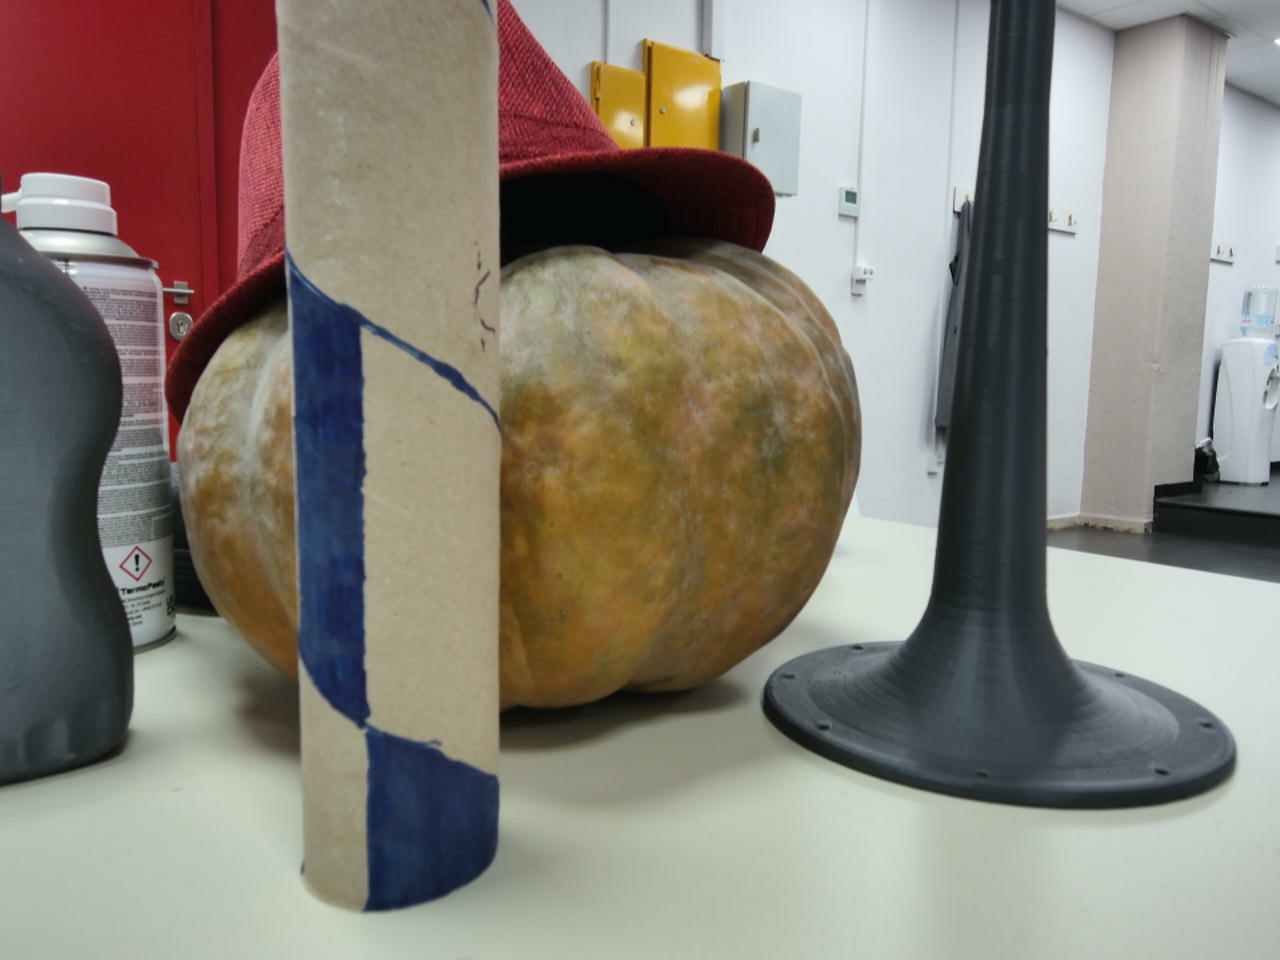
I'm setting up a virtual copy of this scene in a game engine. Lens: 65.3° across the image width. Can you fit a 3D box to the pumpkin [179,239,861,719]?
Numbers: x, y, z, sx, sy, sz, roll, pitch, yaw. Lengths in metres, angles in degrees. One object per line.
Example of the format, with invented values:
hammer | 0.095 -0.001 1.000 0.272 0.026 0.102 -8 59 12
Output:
pumpkin | -0.043 -0.008 0.379 0.252 0.168 0.252 0 4 0
